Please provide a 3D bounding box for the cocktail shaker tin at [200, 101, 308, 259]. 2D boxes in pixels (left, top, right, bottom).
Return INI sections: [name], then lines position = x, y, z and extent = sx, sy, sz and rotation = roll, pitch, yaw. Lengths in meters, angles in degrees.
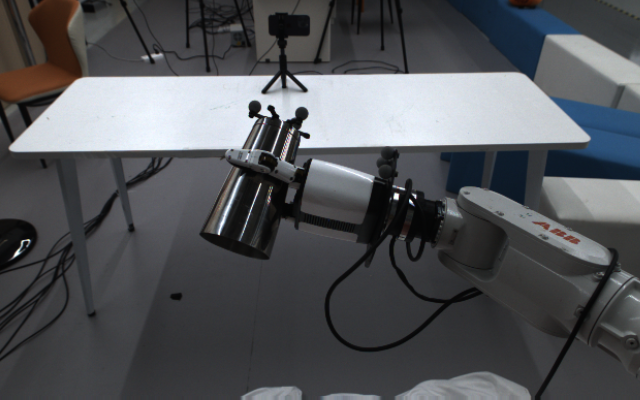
[cocktail shaker tin]
position = -0.083, -0.019, 0.627
extent = 0.093, 0.093, 0.170
rotation = 13, 70, 15
